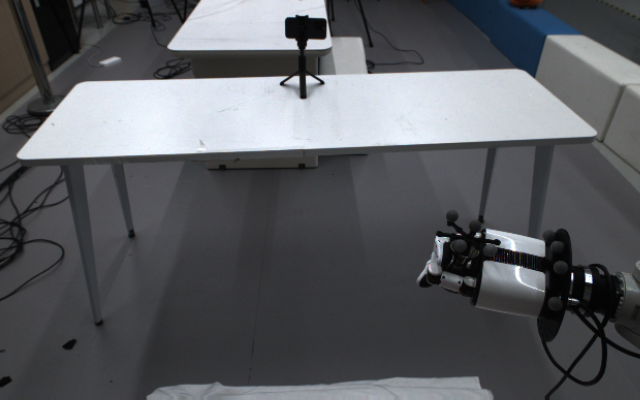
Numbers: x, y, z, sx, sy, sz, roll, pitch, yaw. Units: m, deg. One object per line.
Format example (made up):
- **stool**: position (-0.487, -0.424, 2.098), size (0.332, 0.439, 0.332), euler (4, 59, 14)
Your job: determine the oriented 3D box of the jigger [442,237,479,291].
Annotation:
- **jigger**: position (0.202, 0.095, 0.702), size (0.043, 0.071, 0.043), euler (7, 32, -4)
